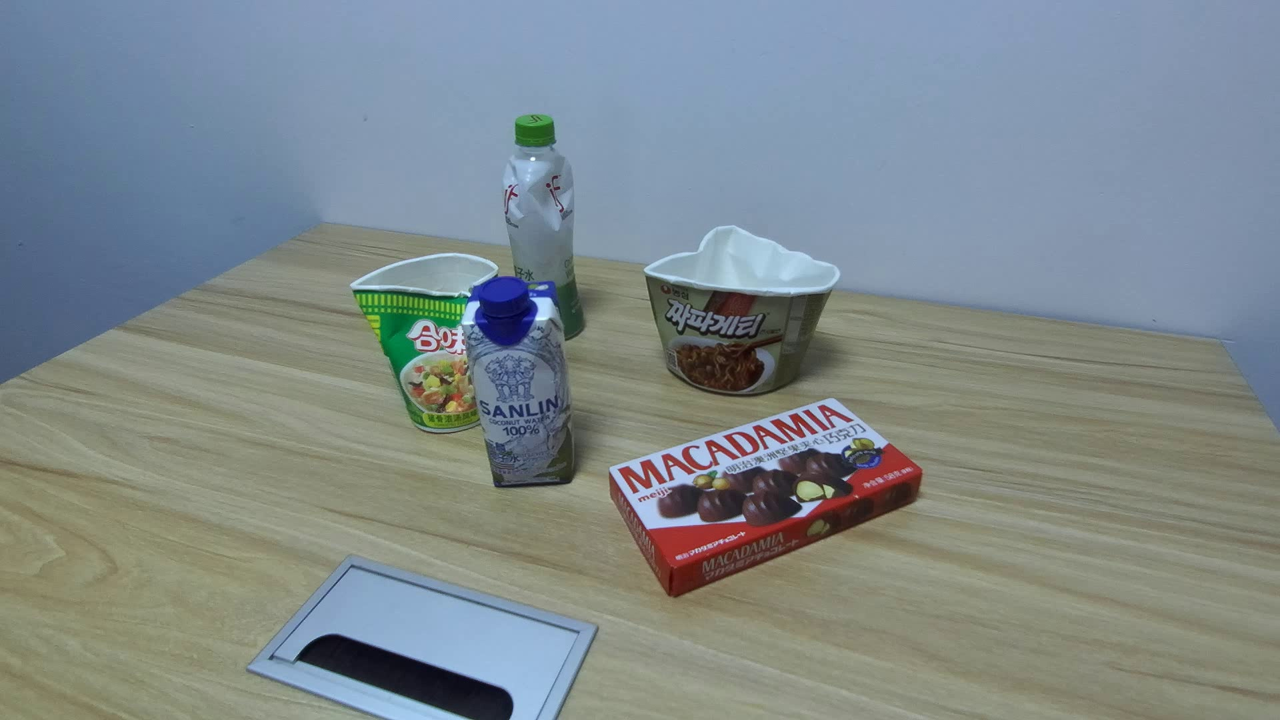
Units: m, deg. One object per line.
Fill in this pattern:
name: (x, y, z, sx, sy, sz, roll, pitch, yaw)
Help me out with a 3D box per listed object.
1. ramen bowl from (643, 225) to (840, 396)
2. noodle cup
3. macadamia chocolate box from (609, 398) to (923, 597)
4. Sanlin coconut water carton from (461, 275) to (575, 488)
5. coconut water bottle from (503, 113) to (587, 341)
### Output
ramen bowl: (0.086, -0.037, 0.562, 0.133, 0.098, 0.114, 19, 38, 30)
noodle cup: (-0.144, -0.012, 0.522, 0.082, 0.122, 0.075, 3, 23, 30)
macadamia chocolate box: (0.078, 0.079, 0.448, 0.178, 0.027, 0.095, -14, 34, -19)
Sanlin coconut water carton: (-0.076, 0.012, 0.453, 0.060, 0.144, 0.060, -4, 31, -2)
coconut water bottle: (-0.083, -0.109, 0.602, 0.067, 0.187, 0.067, 0, 29, 0)
